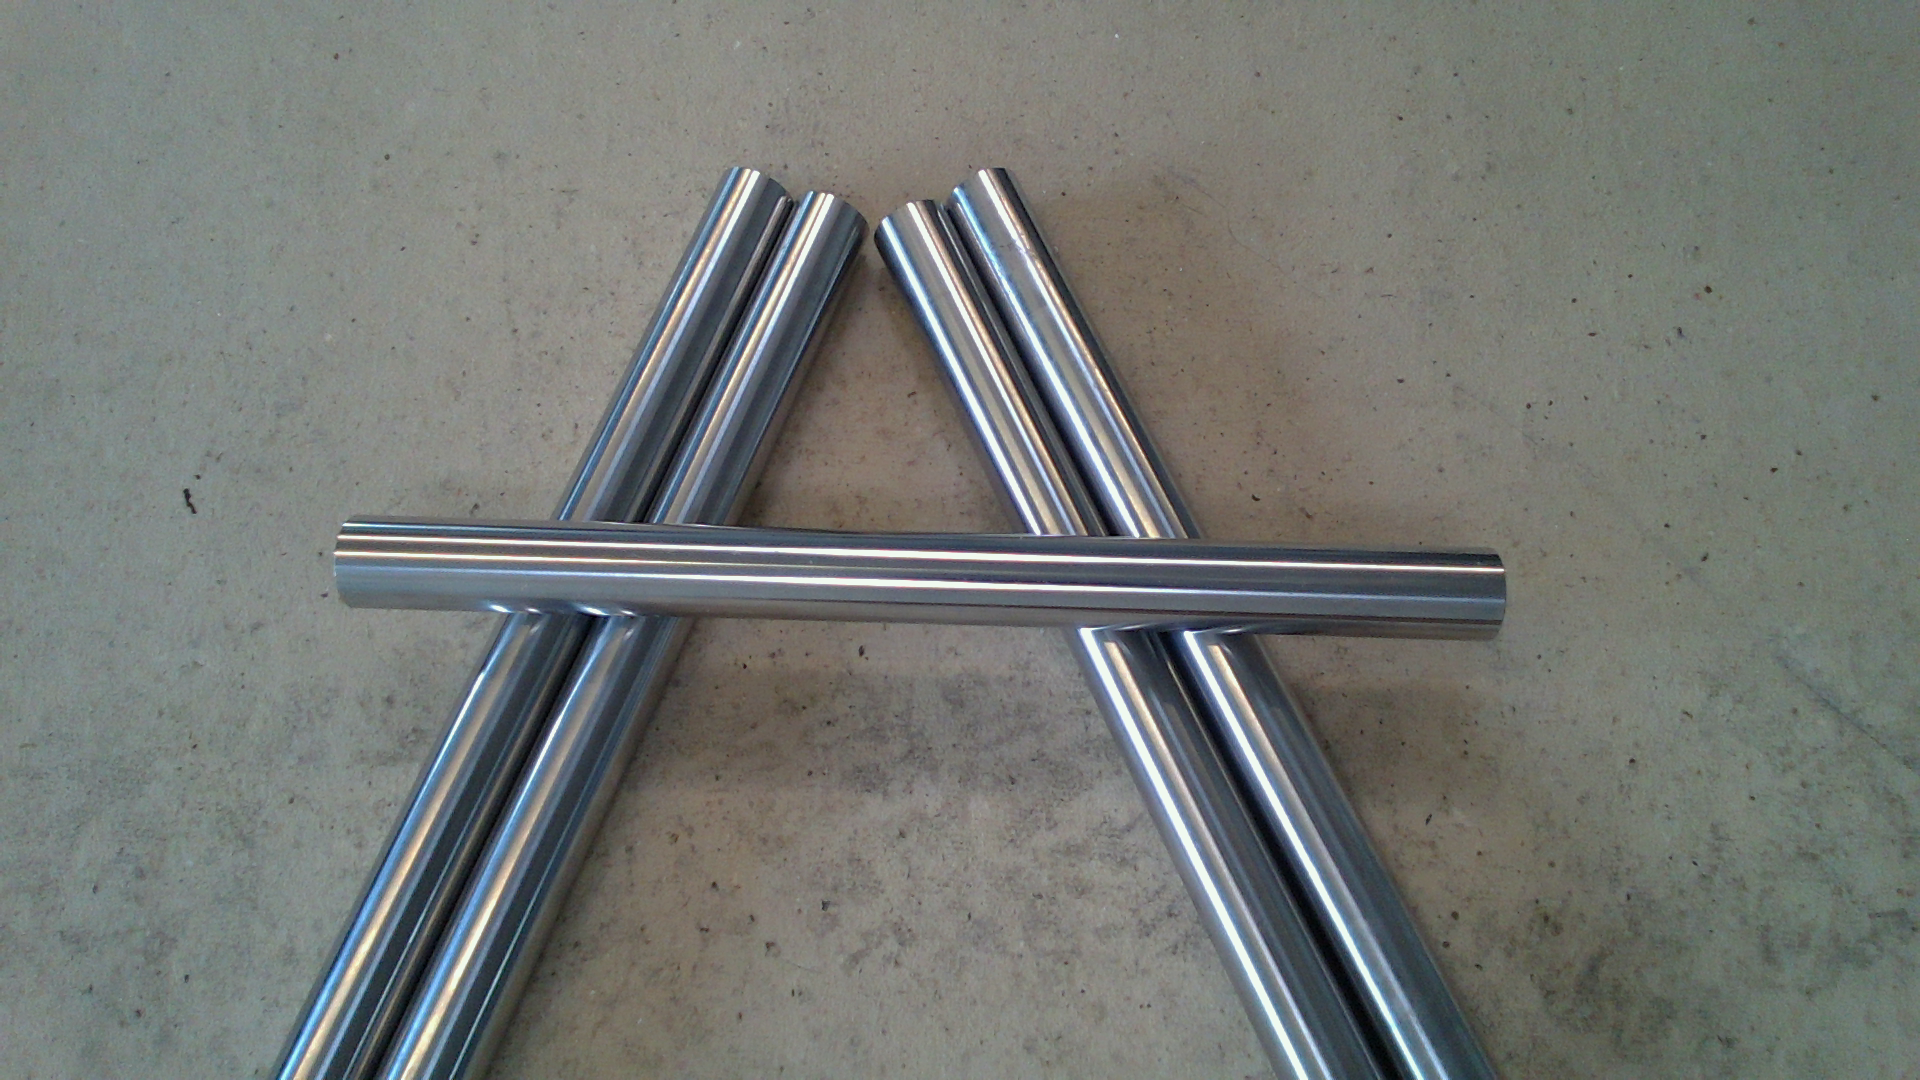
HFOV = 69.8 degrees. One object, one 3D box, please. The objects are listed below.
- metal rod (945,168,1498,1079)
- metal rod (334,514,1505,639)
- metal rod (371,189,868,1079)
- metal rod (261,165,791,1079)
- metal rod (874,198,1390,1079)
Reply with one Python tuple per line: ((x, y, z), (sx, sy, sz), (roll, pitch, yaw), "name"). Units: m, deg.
((0.067, 0.020, 0.388), (0.025, 0.025, 0.300), (-22, 72, -8), "metal rod")
((-0.011, 0.010, 0.364), (0.300, 0.025, 0.025), (2, 70, 0), "metal rod")
((-0.092, 0.030, 0.383), (0.025, 0.025, 0.300), (19, 71, 7), "metal rod")
((-0.116, 0.022, 0.386), (0.025, 0.025, 0.300), (19, 71, 7), "metal rod")
((0.045, 0.030, 0.384), (0.025, 0.025, 0.300), (-22, 72, -8), "metal rod")
